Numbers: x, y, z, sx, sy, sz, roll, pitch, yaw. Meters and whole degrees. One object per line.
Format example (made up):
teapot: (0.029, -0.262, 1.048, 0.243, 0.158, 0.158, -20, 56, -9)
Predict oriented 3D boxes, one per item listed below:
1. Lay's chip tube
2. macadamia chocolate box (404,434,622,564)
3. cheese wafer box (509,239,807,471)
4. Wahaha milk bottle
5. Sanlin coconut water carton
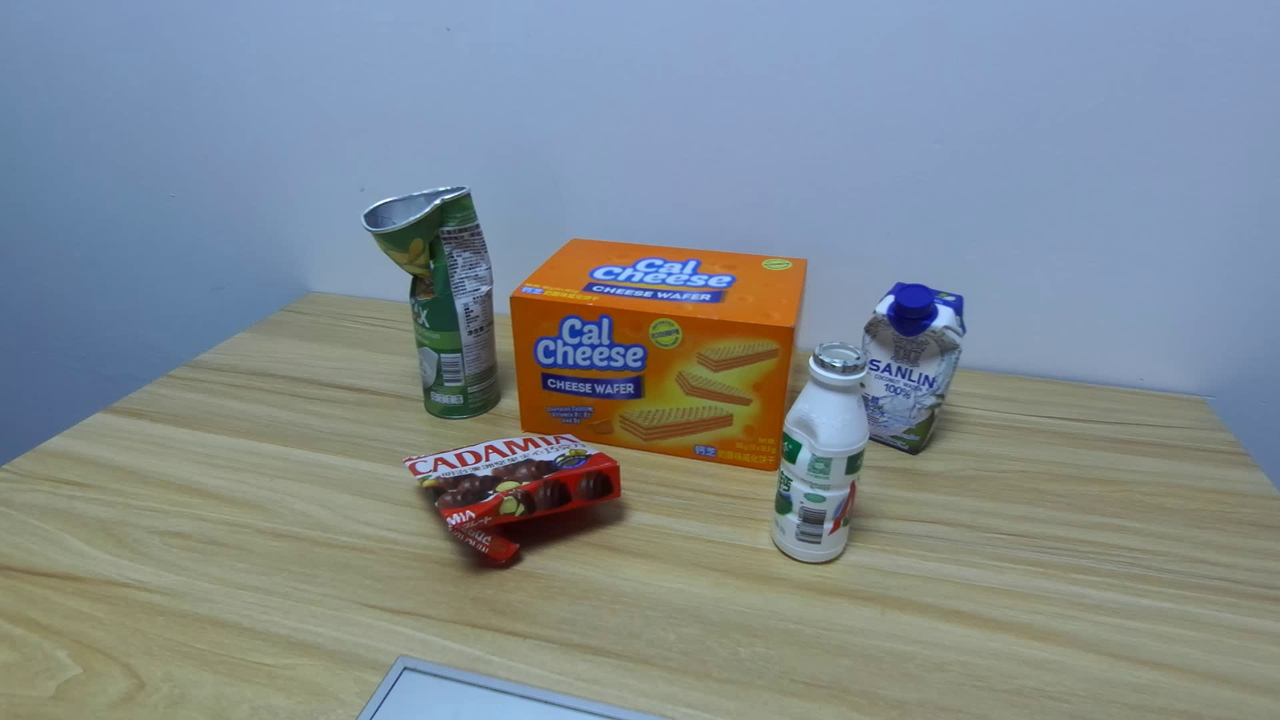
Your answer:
Lay's chip tube: (-0.168, -0.043, 0.596, 0.078, 0.200, 0.071, 14, 39, 28)
macadamia chocolate box: (-0.090, 0.086, 0.503, 0.127, 0.056, 0.111, -16, 33, -26)
cheese wafer box: (0.023, -0.013, 0.606, 0.221, 0.129, 0.148, 7, 30, 13)
Wahaha milk bottle: (0.116, 0.065, 0.452, 0.053, 0.137, 0.053, 0, 30, 0)
Sanlin coconut water carton: (0.216, 0.002, 0.568, 0.077, 0.142, 0.058, 18, 38, 31)
